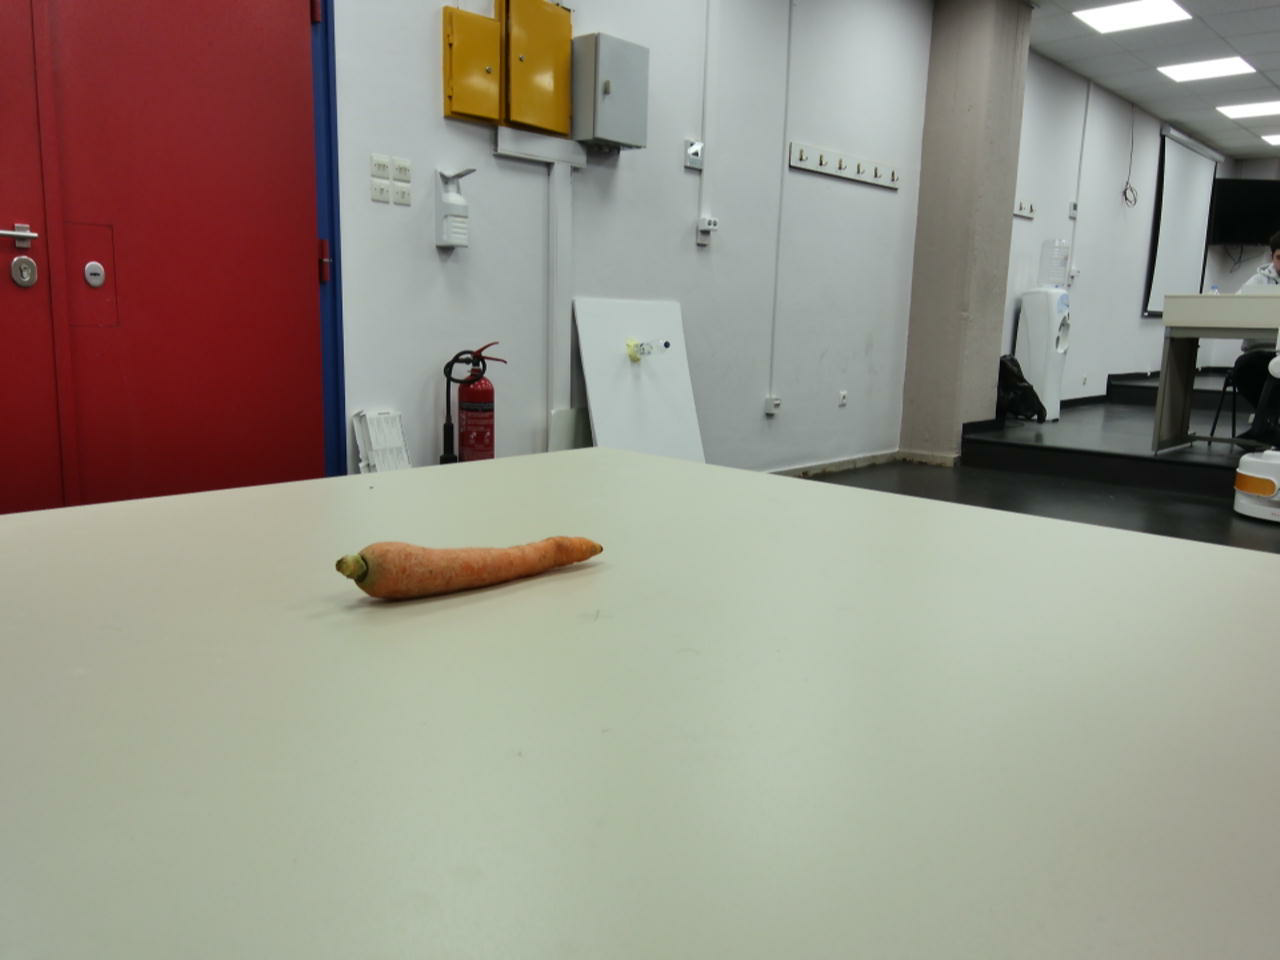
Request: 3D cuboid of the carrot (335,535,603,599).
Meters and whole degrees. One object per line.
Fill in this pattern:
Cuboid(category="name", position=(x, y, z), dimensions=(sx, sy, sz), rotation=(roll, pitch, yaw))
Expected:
Cuboid(category="carrot", position=(-0.089, 0.044, 0.568), dimensions=(0.173, 0.032, 0.030), rotation=(-6, 10, -38))
